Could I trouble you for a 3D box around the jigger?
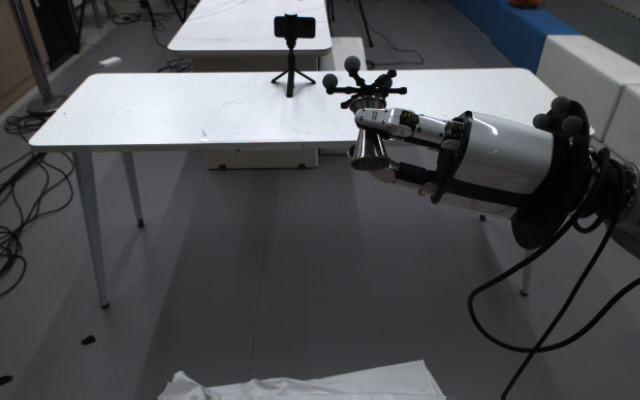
[{"bbox_3d":[0.053,-0.071,0.512,0.043,0.043,0.071,0,75,-3],"label":"jigger"}]
